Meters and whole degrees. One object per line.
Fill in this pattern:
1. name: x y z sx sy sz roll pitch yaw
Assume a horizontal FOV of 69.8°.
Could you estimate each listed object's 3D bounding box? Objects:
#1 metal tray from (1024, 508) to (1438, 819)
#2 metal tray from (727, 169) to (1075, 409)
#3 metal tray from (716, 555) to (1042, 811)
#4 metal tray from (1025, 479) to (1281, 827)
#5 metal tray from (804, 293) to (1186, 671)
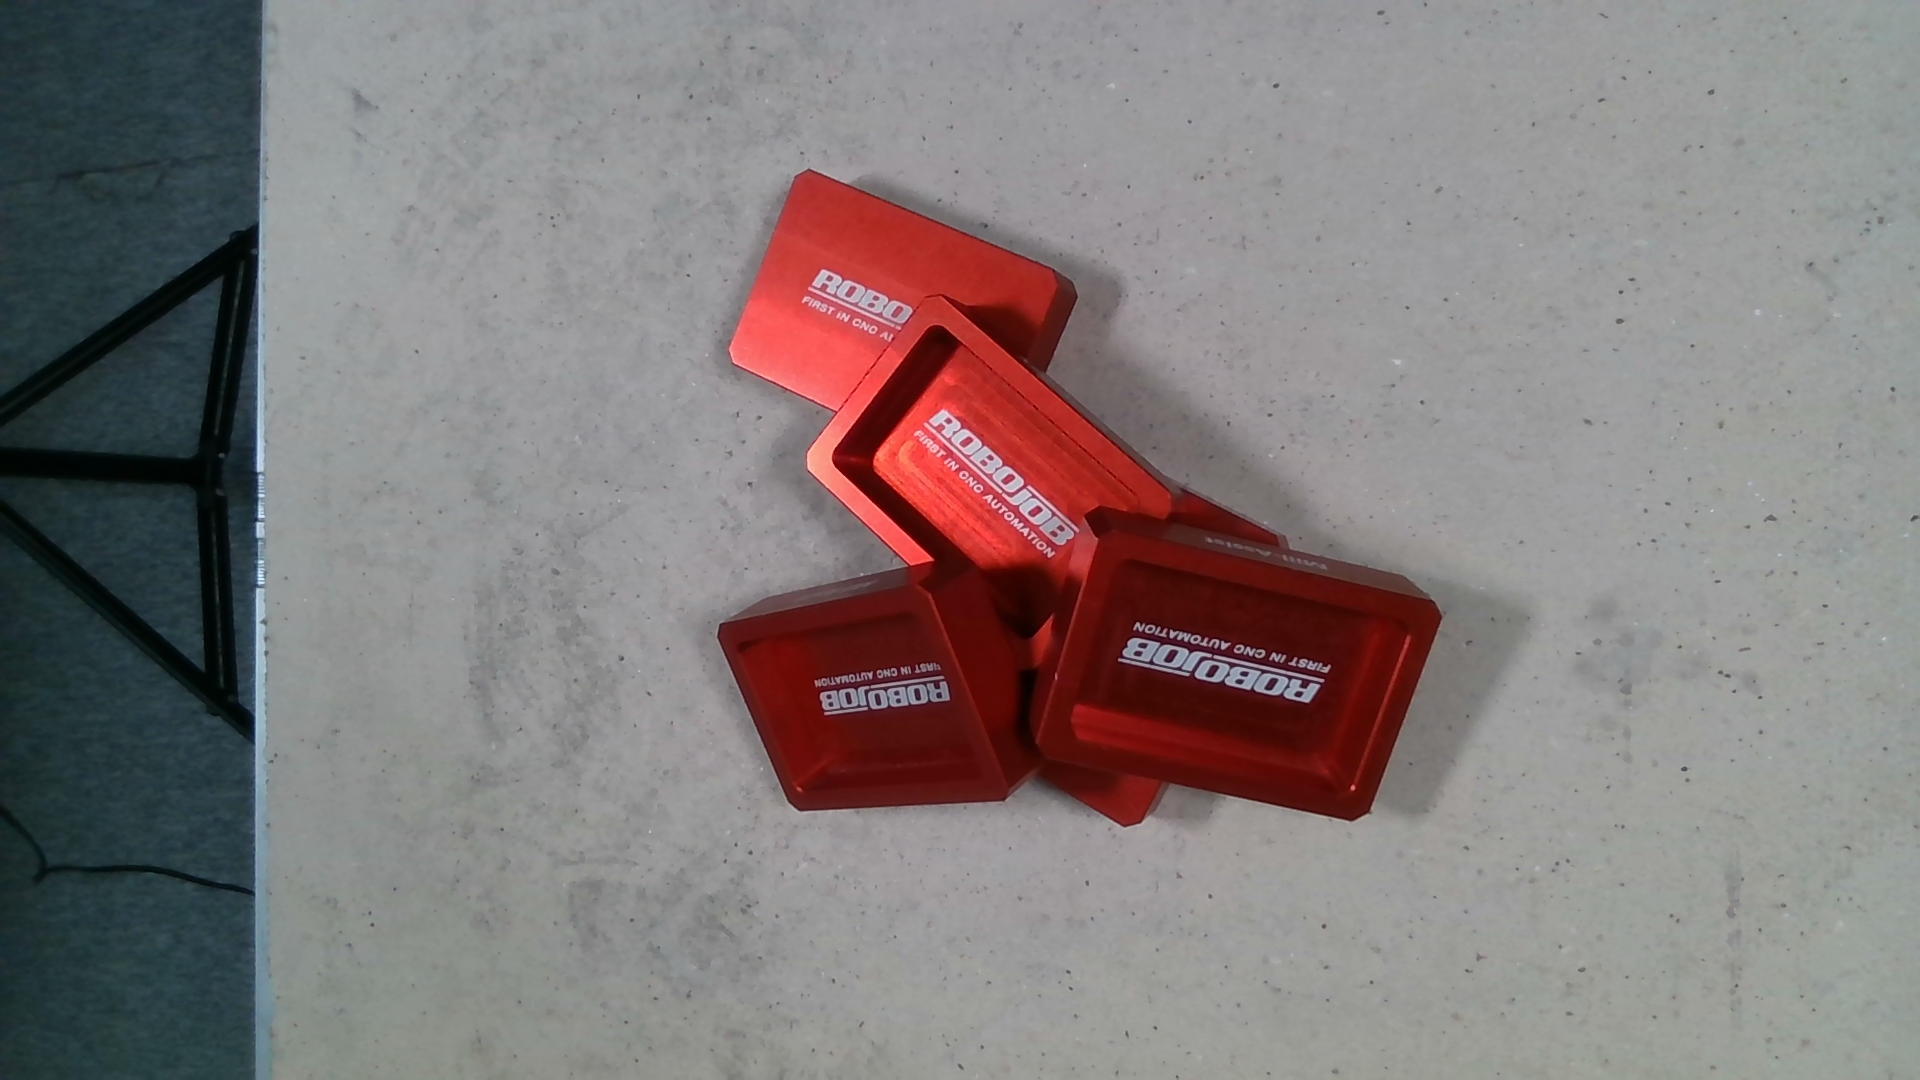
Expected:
1. metal tray: 0.098 0.046 0.511 0.130 0.030 0.090 13 107 -7
2. metal tray: -0.026 -0.093 0.591 0.130 0.030 0.090 26 99 18
3. metal tray: -0.035 0.062 0.560 0.130 0.030 0.090 -13 103 43
4. metal tray: 0.064 0.037 0.560 0.090 0.030 0.130 28 100 18
5. metal tray: 0.012 -0.023 0.546 0.130 0.030 0.090 43 104 15
